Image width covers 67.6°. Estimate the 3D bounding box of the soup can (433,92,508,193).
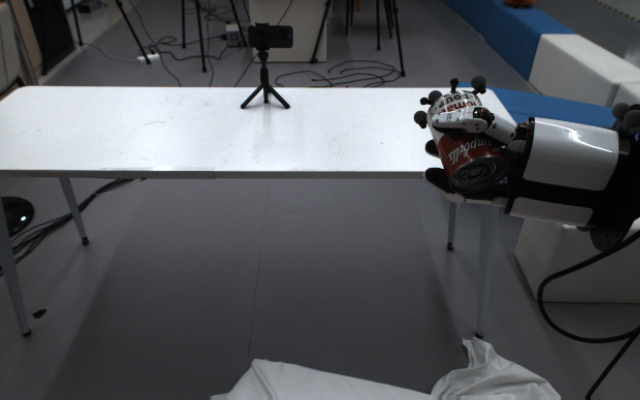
[{"bbox_3d":[0.171,-0.069,0.564,0.067,0.067,0.101,-5,57,-10],"label":"soup can"}]
